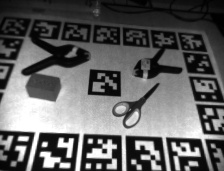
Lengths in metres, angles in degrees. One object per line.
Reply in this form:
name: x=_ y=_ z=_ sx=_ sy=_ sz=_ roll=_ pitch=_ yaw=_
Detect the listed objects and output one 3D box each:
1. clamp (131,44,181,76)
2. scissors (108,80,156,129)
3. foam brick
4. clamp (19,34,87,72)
clamp: x=0.140 y=-0.078 z=0.740 sx=0.166 sy=0.036 sz=0.121 roll=-21 pitch=68 yaw=-19
scissors: x=0.074 y=0.040 z=0.656 sx=0.087 sy=0.016 sz=0.204 roll=42 pitch=59 yaw=10
foam brick: x=-0.204 y=0.000 z=0.631 sx=0.078 sy=0.051 sz=0.052 roll=8 pitch=57 yaw=4
clamp: x=-0.184 y=-0.108 z=0.713 sx=0.203 sy=0.037 sz=0.164 roll=1 pitch=53 yaw=-8
